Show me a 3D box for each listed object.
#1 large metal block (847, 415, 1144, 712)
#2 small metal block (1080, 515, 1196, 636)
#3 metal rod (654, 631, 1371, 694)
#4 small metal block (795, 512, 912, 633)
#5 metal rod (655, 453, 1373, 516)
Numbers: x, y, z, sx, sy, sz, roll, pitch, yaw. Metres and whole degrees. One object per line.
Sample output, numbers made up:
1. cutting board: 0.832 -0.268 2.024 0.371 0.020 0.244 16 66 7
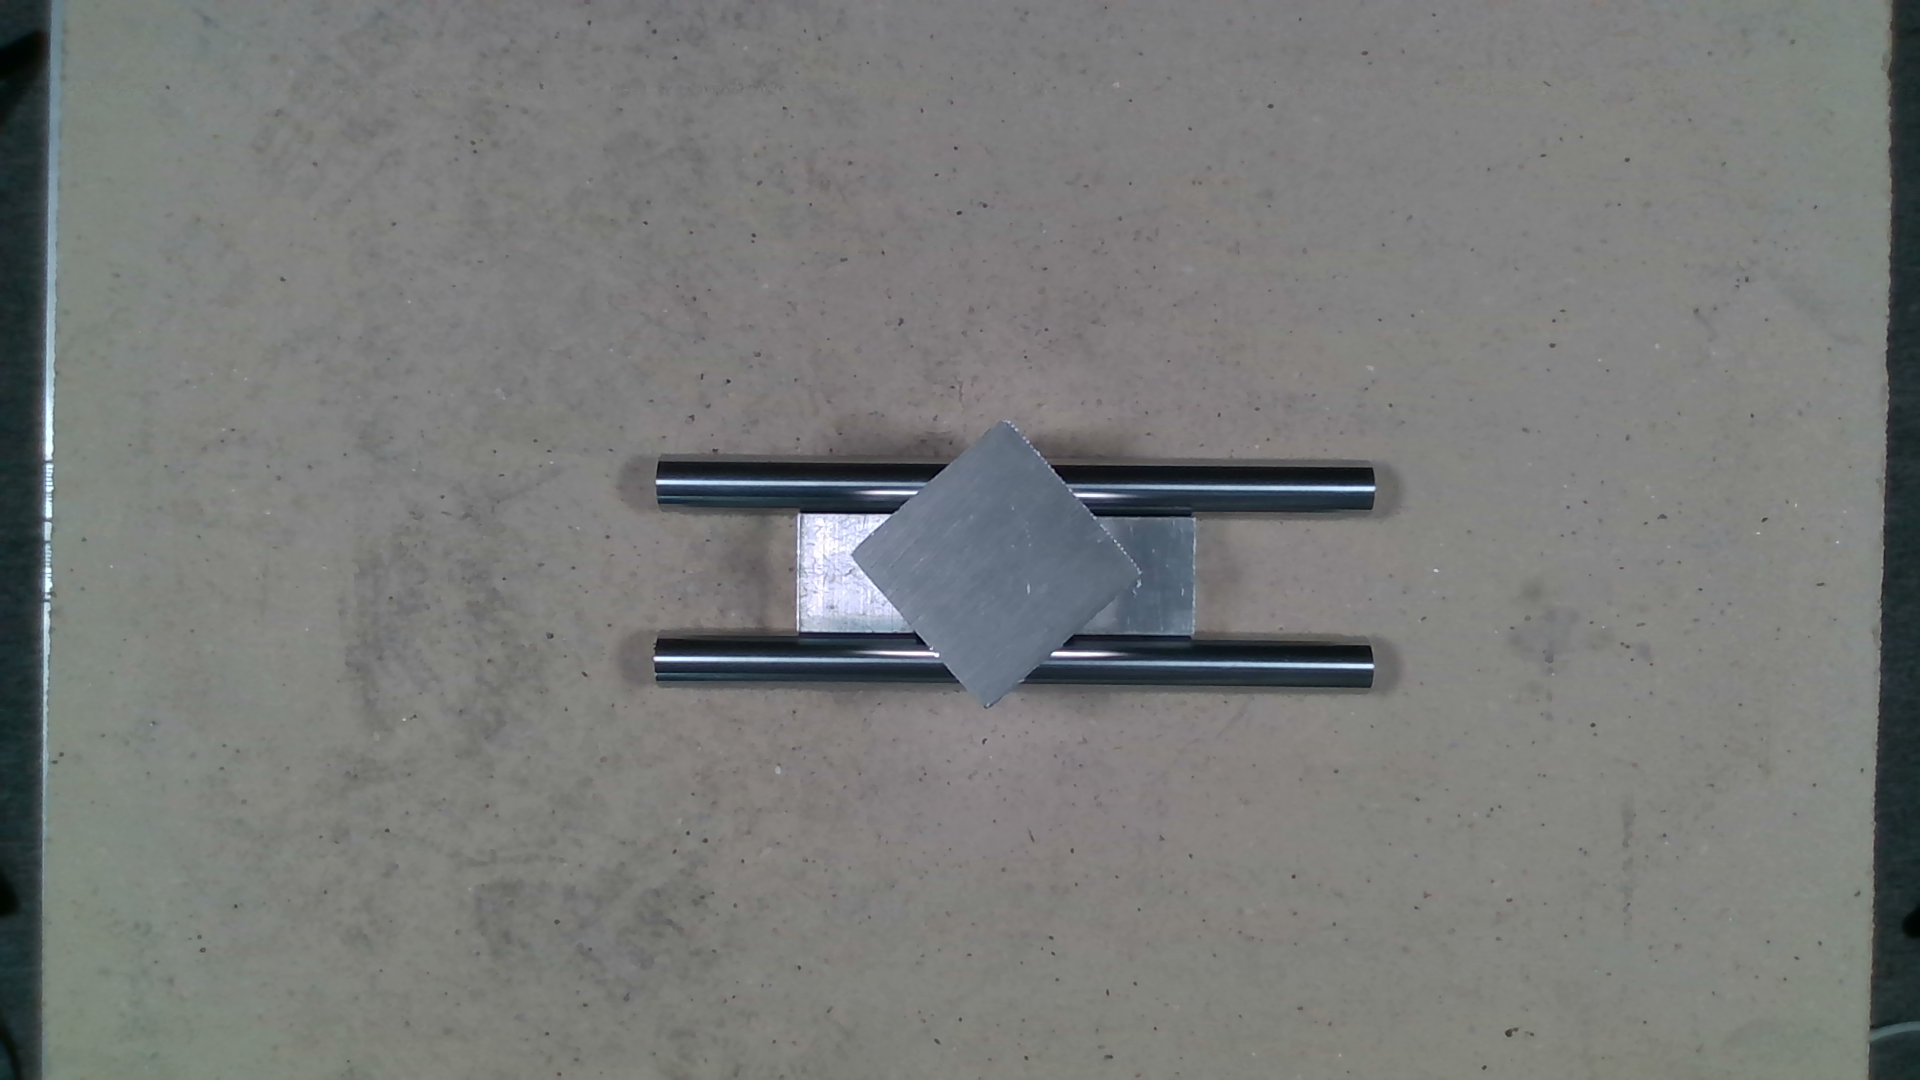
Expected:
1. large metal block: 0.013 0.009 0.548 0.080 0.050 0.080 -41 90 0
2. small metal block: 0.073 0.015 0.586 0.050 0.025 0.050 1 90 0
3. metal rod: 0.022 0.052 0.588 0.300 0.025 0.025 0 90 0
4. small metal block: -0.043 0.014 0.586 0.050 0.025 0.050 1 90 0
5. metal rod: 0.023 -0.023 0.587 0.300 0.025 0.025 0 90 0
